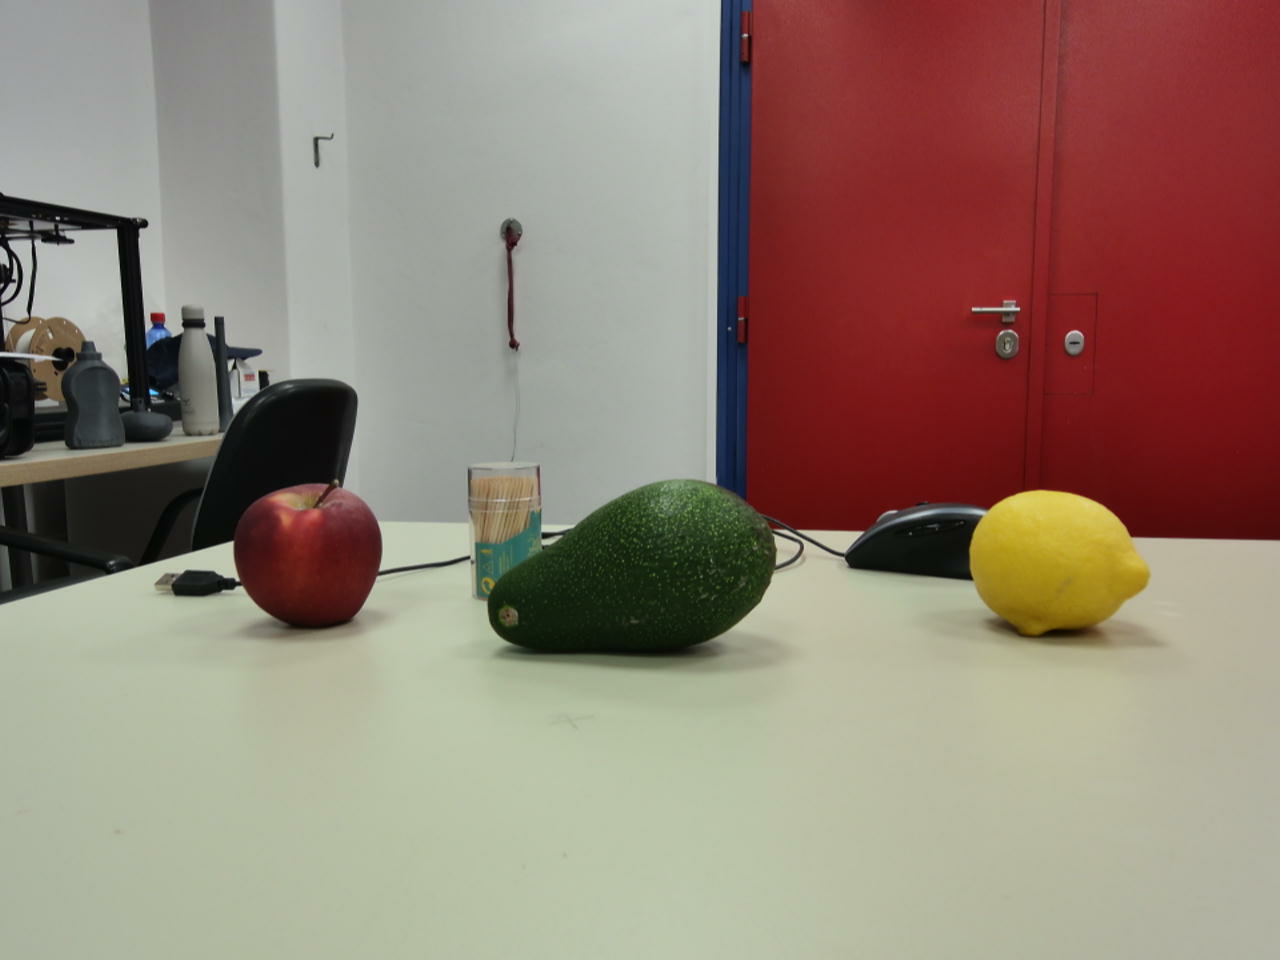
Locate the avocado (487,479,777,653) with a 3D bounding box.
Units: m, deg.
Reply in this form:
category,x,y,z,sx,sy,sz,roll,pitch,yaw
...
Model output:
category,x,y,z,sx,sy,sz,roll,pitch,yaw
avocado,0.000,0.037,0.448,0.123,0.076,0.074,1,4,18
